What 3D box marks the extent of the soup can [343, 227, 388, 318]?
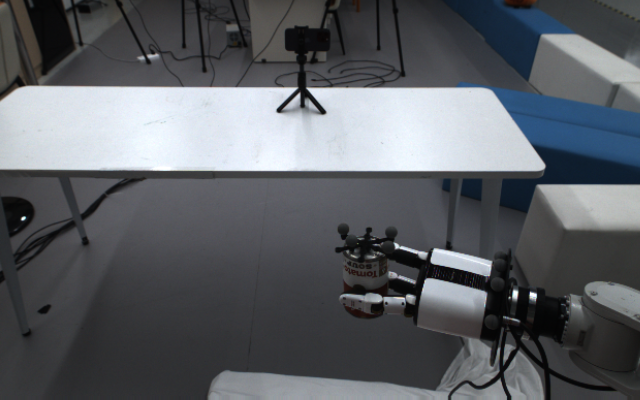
[{"bbox_3d":[0.069,0.110,0.703,0.067,0.101,0.067,-3,27,2],"label":"soup can"}]
